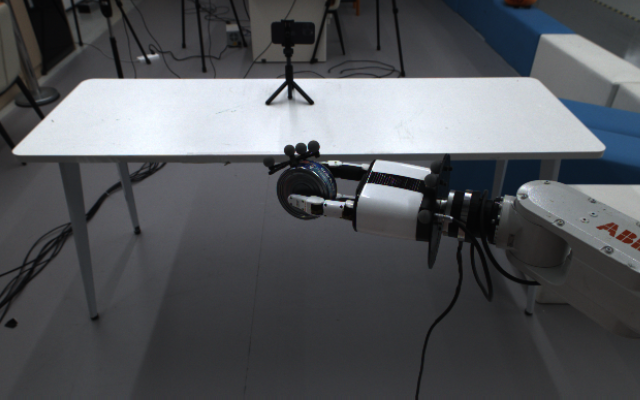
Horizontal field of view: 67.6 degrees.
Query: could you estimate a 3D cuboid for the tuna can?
[{"bbox_3d":[-0.017,-0.009,0.710,0.085,0.085,0.034,15,29,17],"label":"tuna can"}]
